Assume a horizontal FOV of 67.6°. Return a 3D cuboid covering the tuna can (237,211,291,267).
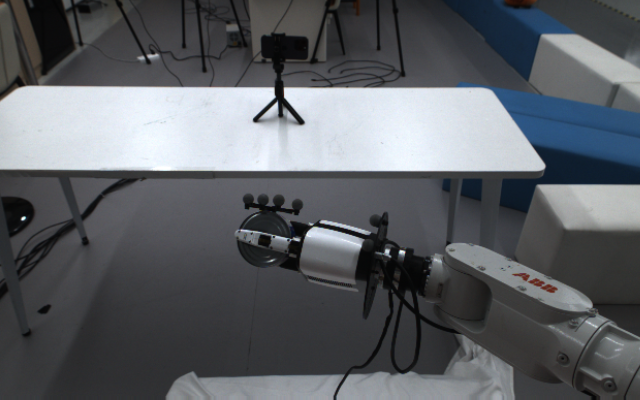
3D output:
[{"bbox_3d":[-0.080,0.060,0.739,0.085,0.085,0.034,11,-5,13],"label":"tuna can"}]
